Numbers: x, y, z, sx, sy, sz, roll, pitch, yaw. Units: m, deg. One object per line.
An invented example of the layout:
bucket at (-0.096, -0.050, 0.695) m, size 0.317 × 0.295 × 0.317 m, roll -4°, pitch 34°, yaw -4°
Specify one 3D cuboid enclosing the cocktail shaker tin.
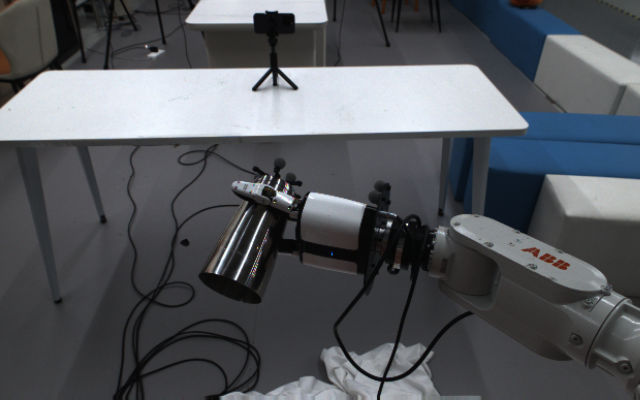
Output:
cocktail shaker tin at (-0.095, 0.047, 0.690) m, size 0.093 × 0.093 × 0.170 m, roll 13°, pitch 59°, yaw 16°
